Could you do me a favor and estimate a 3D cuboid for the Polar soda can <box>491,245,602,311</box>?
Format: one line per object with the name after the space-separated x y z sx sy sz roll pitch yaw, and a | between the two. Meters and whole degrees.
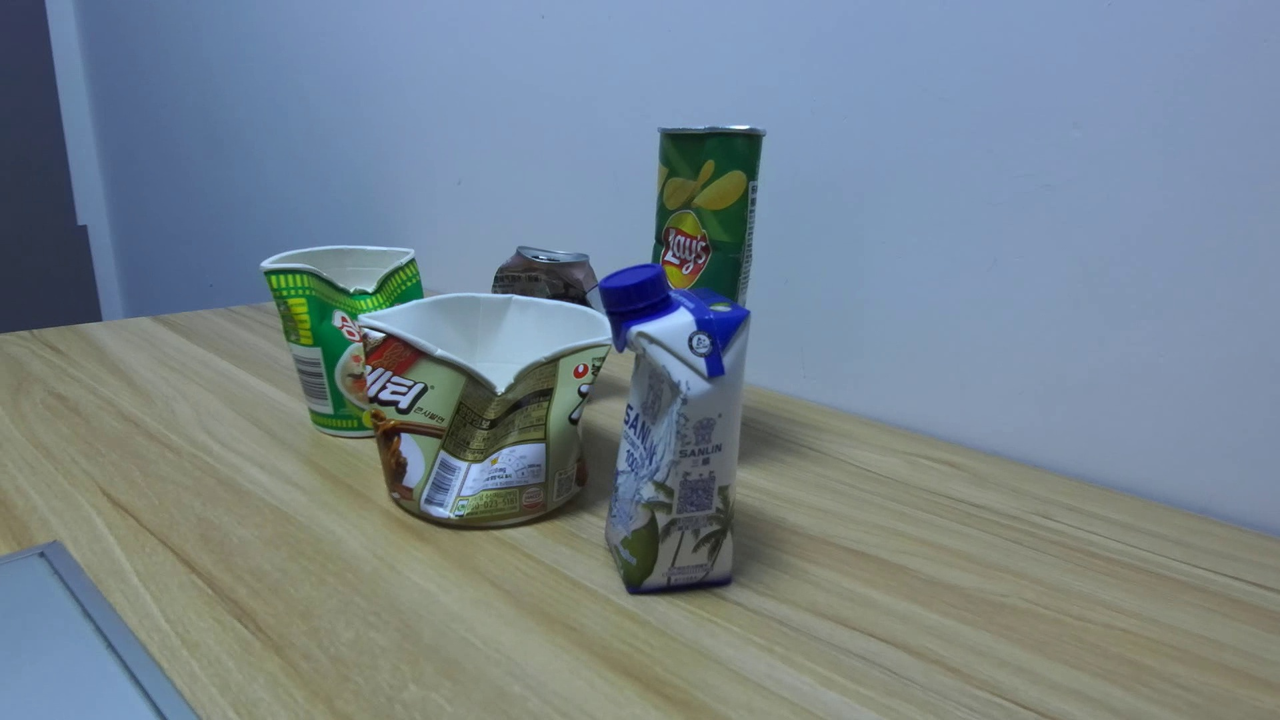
-0.065 -0.022 0.511 0.074 0.114 0.070 -11 22 -38 | Polar soda can

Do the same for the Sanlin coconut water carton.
0.016 0.038 0.342 0.058 0.142 0.078 0 1 -17 | Sanlin coconut water carton

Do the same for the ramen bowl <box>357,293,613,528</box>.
-0.077 0.020 0.395 0.137 0.098 0.137 6 17 -2 | ramen bowl

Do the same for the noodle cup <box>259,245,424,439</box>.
-0.180 -0.014 0.458 0.083 0.122 0.075 -11 13 -13 | noodle cup

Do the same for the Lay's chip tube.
0.035 -0.036 0.427 0.074 0.199 0.069 10 18 20 | Lay's chip tube
